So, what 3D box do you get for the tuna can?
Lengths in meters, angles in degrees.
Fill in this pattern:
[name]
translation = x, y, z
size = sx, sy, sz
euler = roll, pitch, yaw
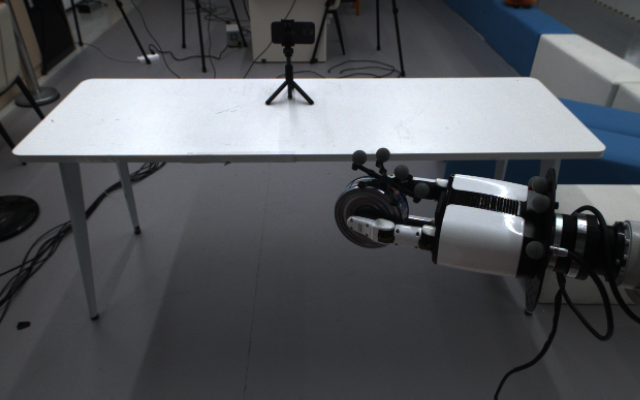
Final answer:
[tuna can]
translation = 0.065, 0.021, 0.582
size = 0.085, 0.085, 0.034
euler = 15, 31, 18
